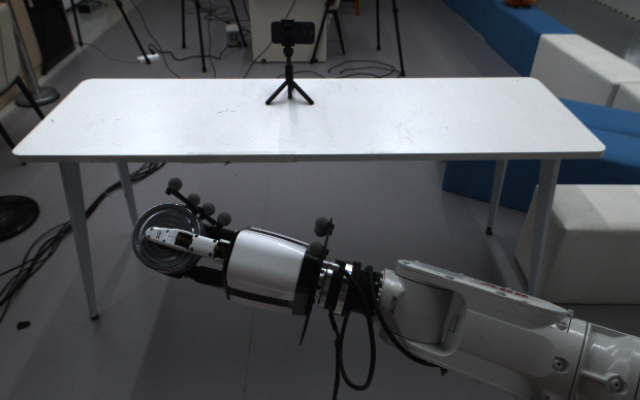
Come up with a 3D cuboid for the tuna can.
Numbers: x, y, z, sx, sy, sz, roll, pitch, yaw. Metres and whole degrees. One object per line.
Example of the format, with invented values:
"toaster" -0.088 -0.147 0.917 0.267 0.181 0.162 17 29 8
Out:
"tuna can" -0.184 0.048 0.599 0.085 0.034 0.085 0 74 -1
